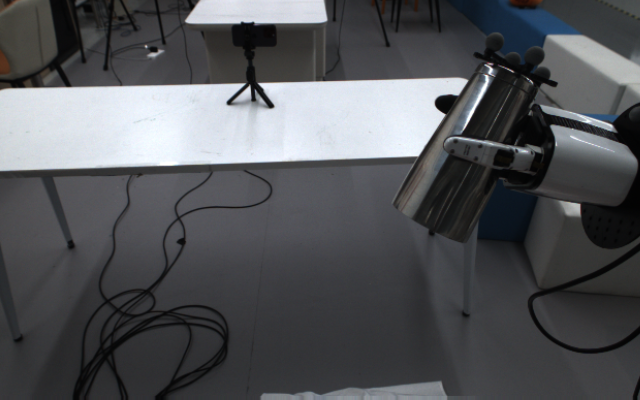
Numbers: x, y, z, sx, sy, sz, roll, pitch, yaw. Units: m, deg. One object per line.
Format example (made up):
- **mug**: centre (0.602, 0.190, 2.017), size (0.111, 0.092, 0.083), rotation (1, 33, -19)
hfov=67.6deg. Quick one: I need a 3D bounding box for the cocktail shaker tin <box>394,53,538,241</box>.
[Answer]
- **cocktail shaker tin**: centre (0.159, -0.053, 0.511), size (0.093, 0.170, 0.093), rotation (24, 12, -6)
